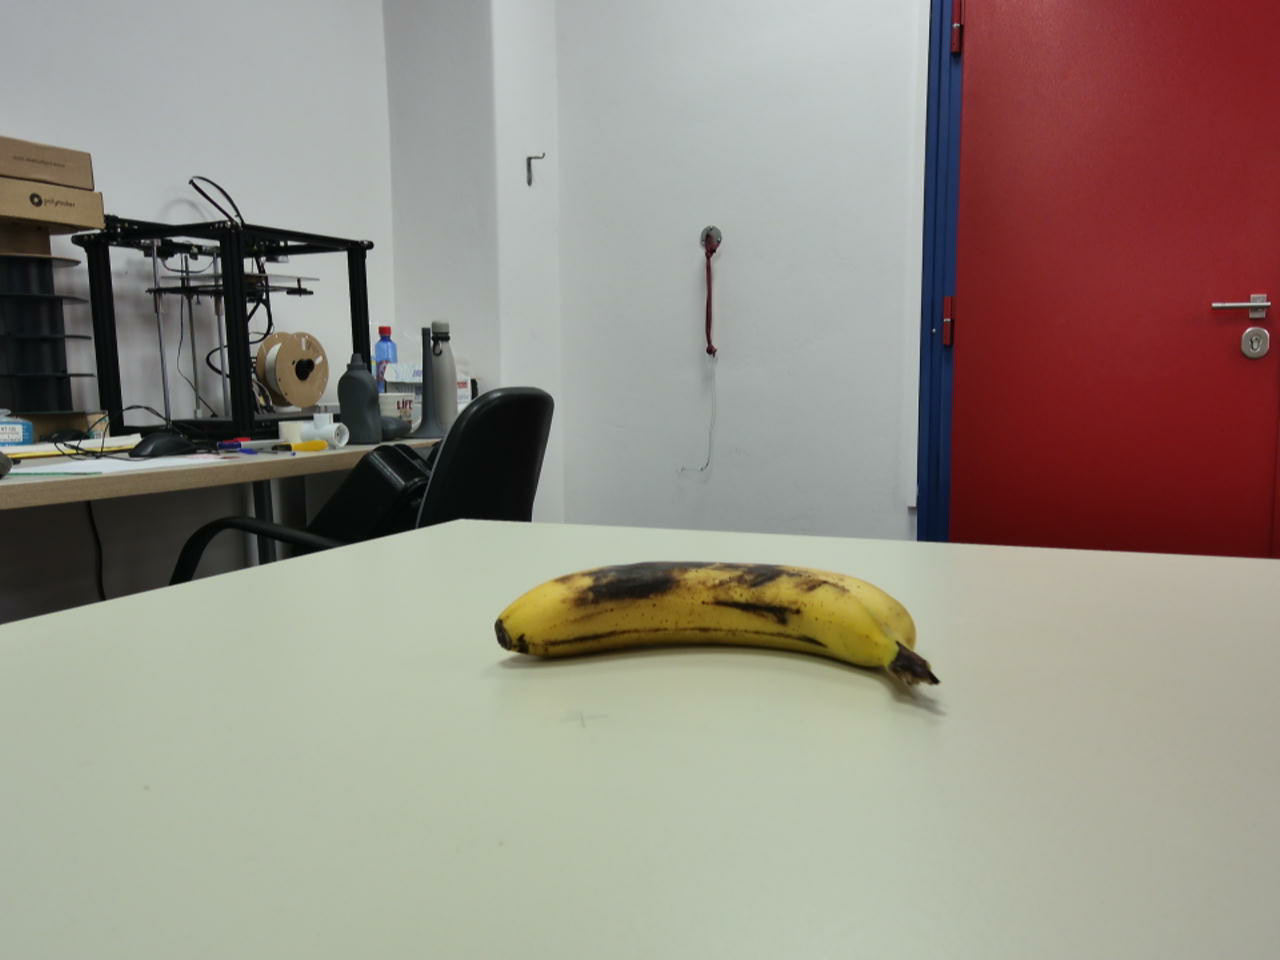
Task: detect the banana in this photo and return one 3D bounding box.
[{"bbox_3d":[0.038,0.060,0.438,0.187,0.039,0.094,2,4,23],"label":"banana"}]
